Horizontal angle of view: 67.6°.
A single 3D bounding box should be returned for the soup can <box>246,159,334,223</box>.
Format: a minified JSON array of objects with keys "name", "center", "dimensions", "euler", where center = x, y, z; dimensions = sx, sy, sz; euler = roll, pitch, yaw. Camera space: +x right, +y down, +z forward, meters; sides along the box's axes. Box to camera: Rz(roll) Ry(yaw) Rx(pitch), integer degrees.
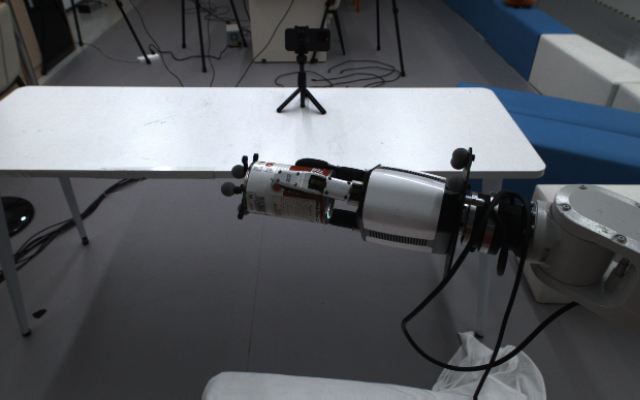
[{"name":"soup can","center":[-0.033,-0.010,0.597],"dimensions":[0.101,0.067,0.067],"euler":[7,35,10]}]
